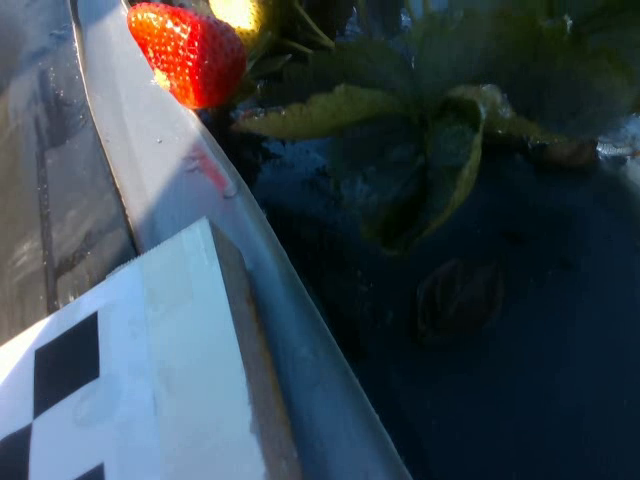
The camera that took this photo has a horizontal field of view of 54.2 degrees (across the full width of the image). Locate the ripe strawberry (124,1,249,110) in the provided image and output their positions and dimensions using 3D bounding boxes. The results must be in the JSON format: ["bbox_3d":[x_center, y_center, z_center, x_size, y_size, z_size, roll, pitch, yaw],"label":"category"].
[{"bbox_3d":[-0.046,-0.063,0.206,0.045,0.038,0.036,32,22,-37],"label":"ripe strawberry"}]
